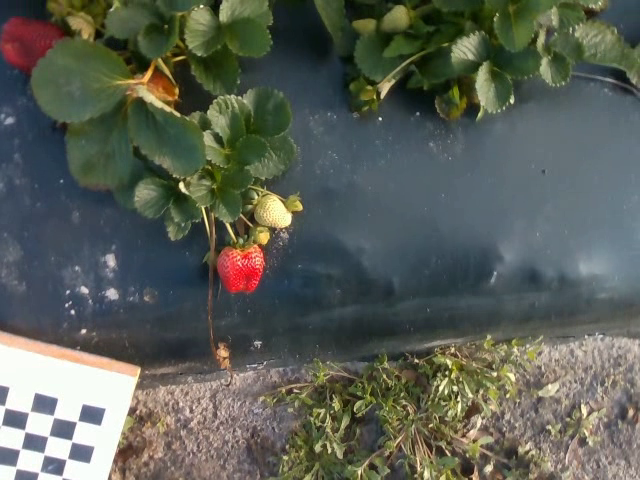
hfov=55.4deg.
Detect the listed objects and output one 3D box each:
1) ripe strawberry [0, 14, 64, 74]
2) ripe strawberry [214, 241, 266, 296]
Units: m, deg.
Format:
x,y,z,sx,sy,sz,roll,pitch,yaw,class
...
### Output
x,y,z,sx,sy,sz,roll,pitch,yaw,class
-0.282,-0.181,0.580,0.070,0.058,0.057,20,18,-41,ripe strawberry
-0.073,0.031,0.587,0.047,0.050,0.035,-3,15,-7,ripe strawberry
